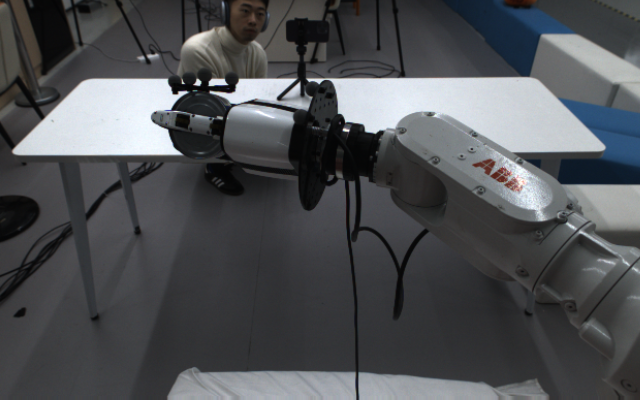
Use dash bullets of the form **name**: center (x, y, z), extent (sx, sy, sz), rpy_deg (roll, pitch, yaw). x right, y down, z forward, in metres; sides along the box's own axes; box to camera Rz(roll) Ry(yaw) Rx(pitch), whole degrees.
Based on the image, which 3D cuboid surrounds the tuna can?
- **tuna can**: center (-0.149, -0.094, 0.624), extent (0.085, 0.085, 0.034), rpy_deg (11, 7, 13)
